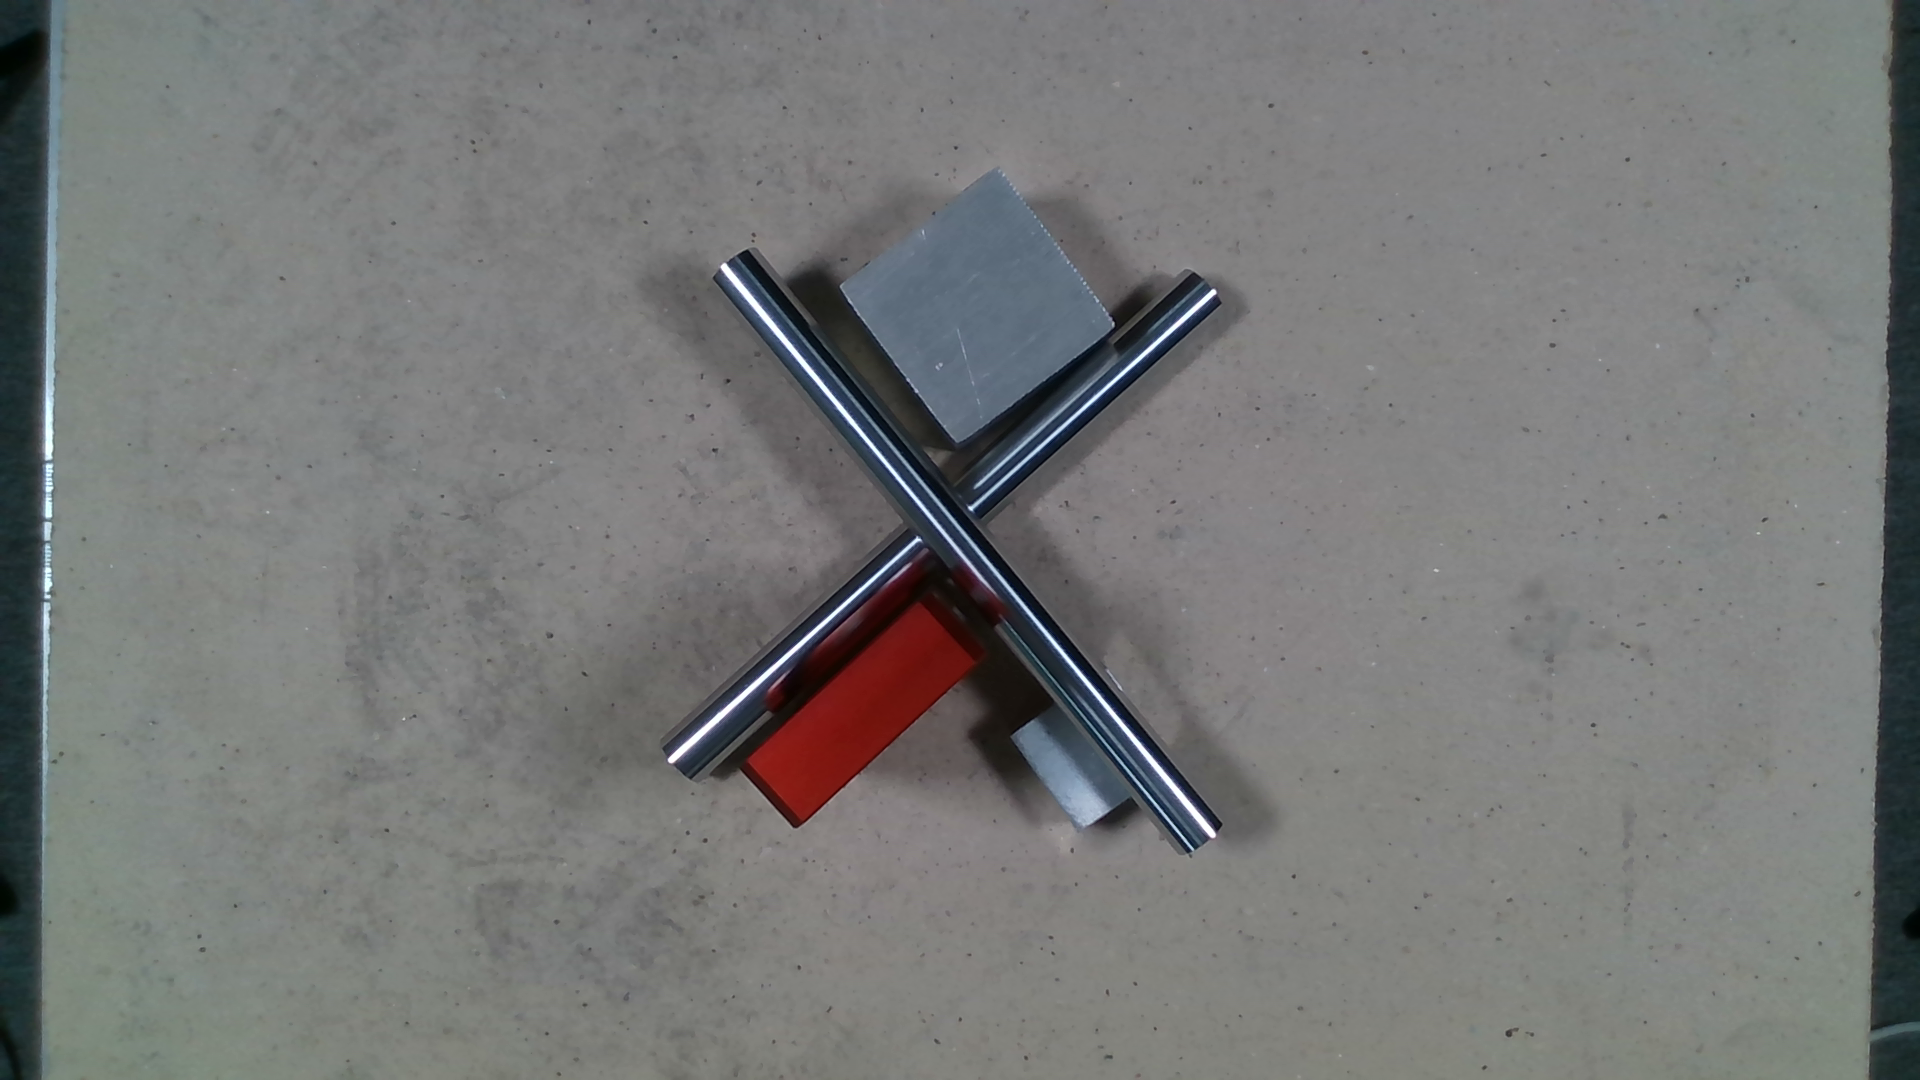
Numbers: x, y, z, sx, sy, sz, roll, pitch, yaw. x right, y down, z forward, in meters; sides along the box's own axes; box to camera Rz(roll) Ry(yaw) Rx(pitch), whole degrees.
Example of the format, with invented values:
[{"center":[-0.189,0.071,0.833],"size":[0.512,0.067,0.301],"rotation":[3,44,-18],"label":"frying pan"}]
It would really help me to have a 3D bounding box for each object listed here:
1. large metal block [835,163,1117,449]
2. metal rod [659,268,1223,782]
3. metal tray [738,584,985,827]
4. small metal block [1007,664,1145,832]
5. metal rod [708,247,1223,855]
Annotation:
[{"center":[0.006,-0.094,0.573],"size":[0.080,0.050,0.080],"rotation":[-37,90,0],"label":"large metal block"},{"center":[-0.008,-0.006,0.587],"size":[0.300,0.025,0.025],"rotation":[-42,90,0],"label":"metal rod"},{"center":[-0.034,0.059,0.534],"size":[0.090,0.130,0.030],"rotation":[-42,90,0],"label":"metal tray"},{"center":[0.056,0.087,0.588],"size":[0.050,0.025,0.050],"rotation":[-36,90,0],"label":"small metal block"},{"center":[0.002,0.005,0.562],"size":[0.025,0.025,0.300],"rotation":[-40,90,0],"label":"metal rod"}]
